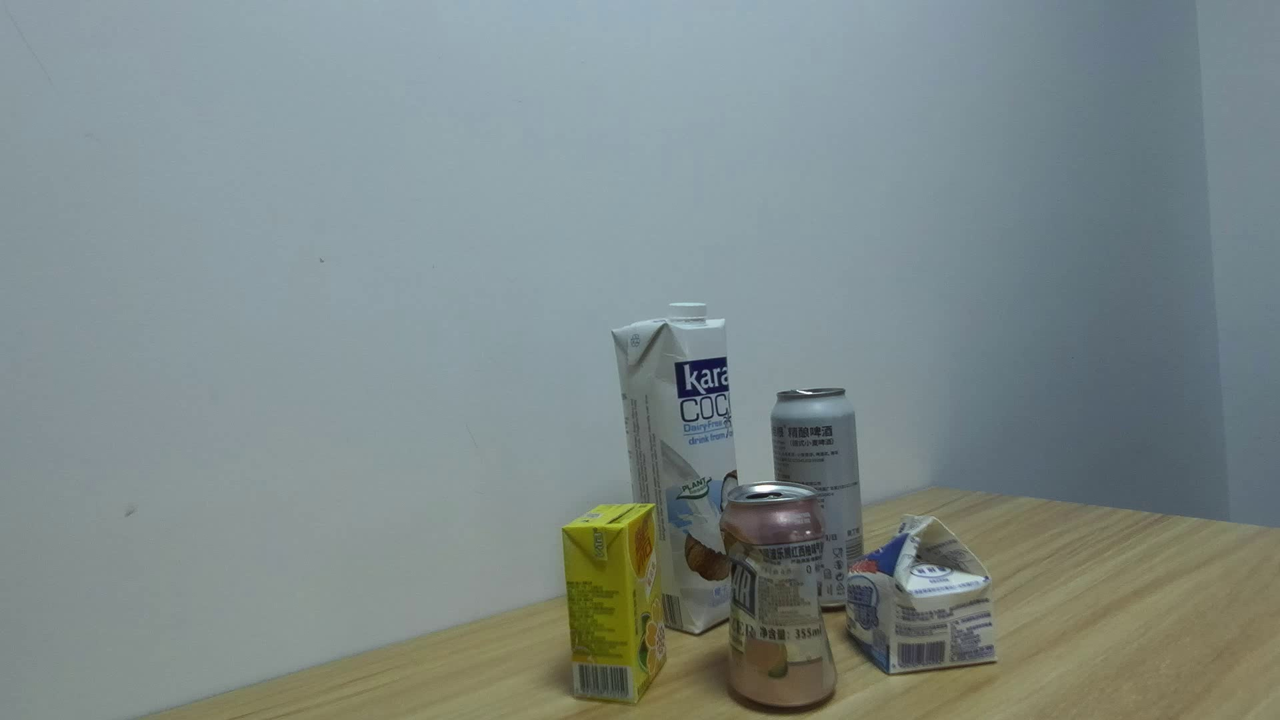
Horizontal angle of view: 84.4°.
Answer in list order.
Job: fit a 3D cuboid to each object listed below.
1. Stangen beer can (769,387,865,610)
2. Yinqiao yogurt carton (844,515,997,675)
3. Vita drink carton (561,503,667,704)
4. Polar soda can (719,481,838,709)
[{"bbox_3d":[0.143,0.110,0.569,0.067,0.171,0.067,-4,0,0],"label":"Stangen beer can"},{"bbox_3d":[0.182,0.145,0.466,0.077,0.093,0.083,-4,0,-5],"label":"Yinqiao yogurt carton"},{"bbox_3d":[-0.015,0.153,0.457,0.043,0.109,0.067,-4,1,19],"label":"Vita drink carton"},{"bbox_3d":[0.084,0.141,0.429,0.067,0.121,0.074,-4,0,33],"label":"Polar soda can"}]
